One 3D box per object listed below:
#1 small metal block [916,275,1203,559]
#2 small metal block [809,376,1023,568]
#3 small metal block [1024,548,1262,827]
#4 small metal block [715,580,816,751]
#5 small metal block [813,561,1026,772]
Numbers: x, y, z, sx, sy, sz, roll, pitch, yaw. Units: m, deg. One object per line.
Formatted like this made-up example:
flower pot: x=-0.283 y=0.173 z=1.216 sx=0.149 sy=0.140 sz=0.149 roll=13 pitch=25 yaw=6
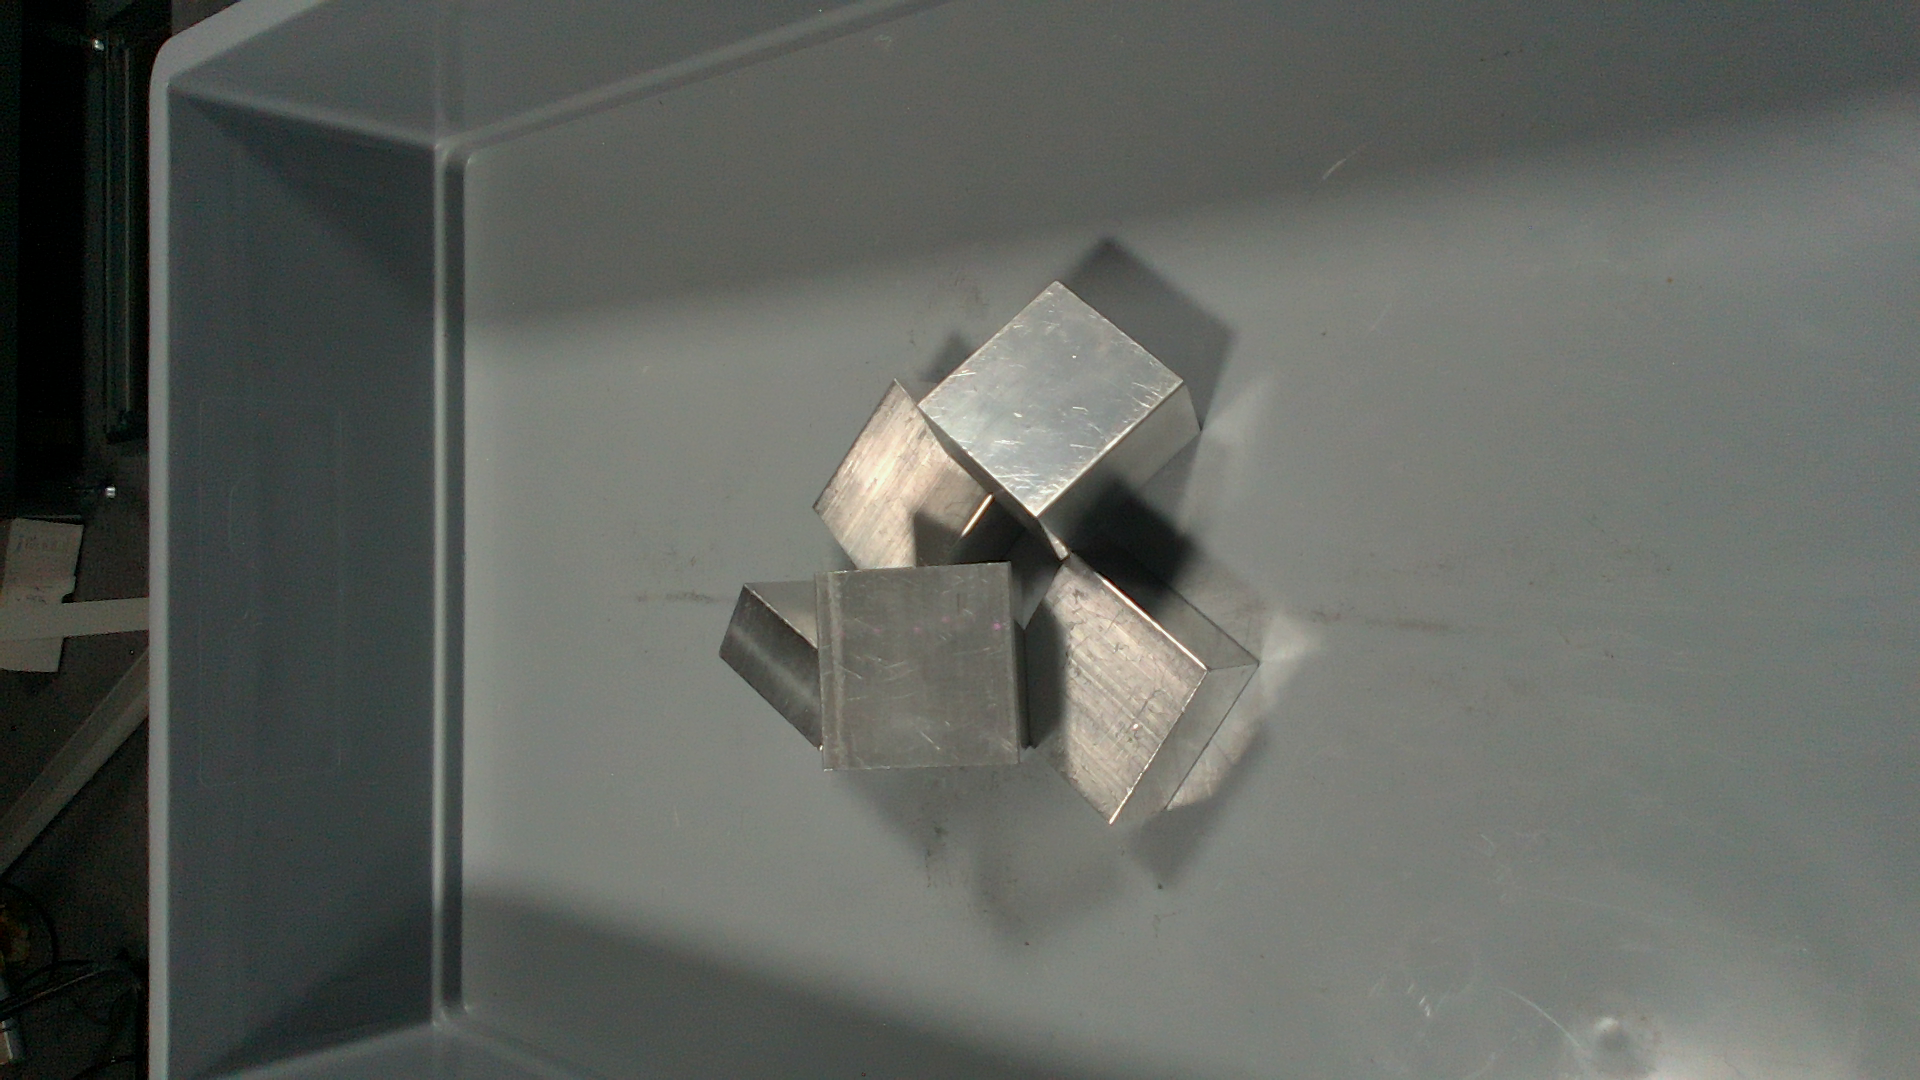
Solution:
small metal block: x=0.026 y=-0.032 z=0.357 sx=0.050 sy=0.025 sz=0.050 roll=-43 pitch=59 yaw=-5
small metal block: x=-0.010 y=-0.011 z=0.401 sx=0.050 sy=0.025 sz=0.050 roll=51 pitch=120 yaw=28
small metal block: x=0.041 y=0.037 z=0.358 sx=0.050 sy=0.025 sz=0.050 roll=42 pitch=116 yaw=32
small metal block: x=-0.035 y=0.035 z=0.405 sx=0.050 sy=0.050 sz=0.025 roll=36 pitch=113 yaw=34
small metal block: x=-0.009 y=0.032 z=0.353 sx=0.050 sy=0.025 sz=0.050 roll=-3 pitch=87 yaw=8
